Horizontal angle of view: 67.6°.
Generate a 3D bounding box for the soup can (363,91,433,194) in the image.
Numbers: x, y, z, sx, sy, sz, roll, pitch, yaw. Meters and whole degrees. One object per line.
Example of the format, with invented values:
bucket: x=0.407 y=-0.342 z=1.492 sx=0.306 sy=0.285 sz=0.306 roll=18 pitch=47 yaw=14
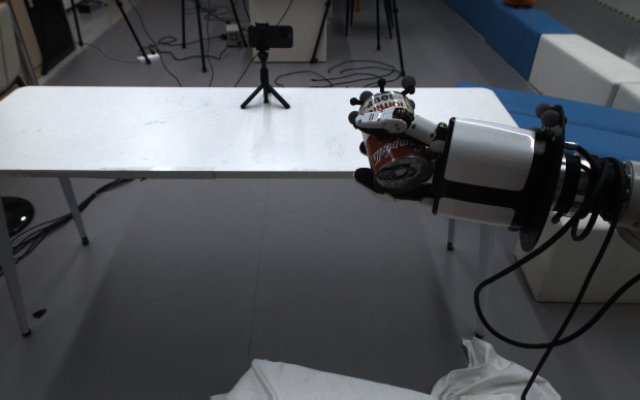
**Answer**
soup can: x=0.088 y=-0.070 z=0.565 sx=0.067 sy=0.067 sz=0.101 roll=-6 pitch=57 yaw=-11
